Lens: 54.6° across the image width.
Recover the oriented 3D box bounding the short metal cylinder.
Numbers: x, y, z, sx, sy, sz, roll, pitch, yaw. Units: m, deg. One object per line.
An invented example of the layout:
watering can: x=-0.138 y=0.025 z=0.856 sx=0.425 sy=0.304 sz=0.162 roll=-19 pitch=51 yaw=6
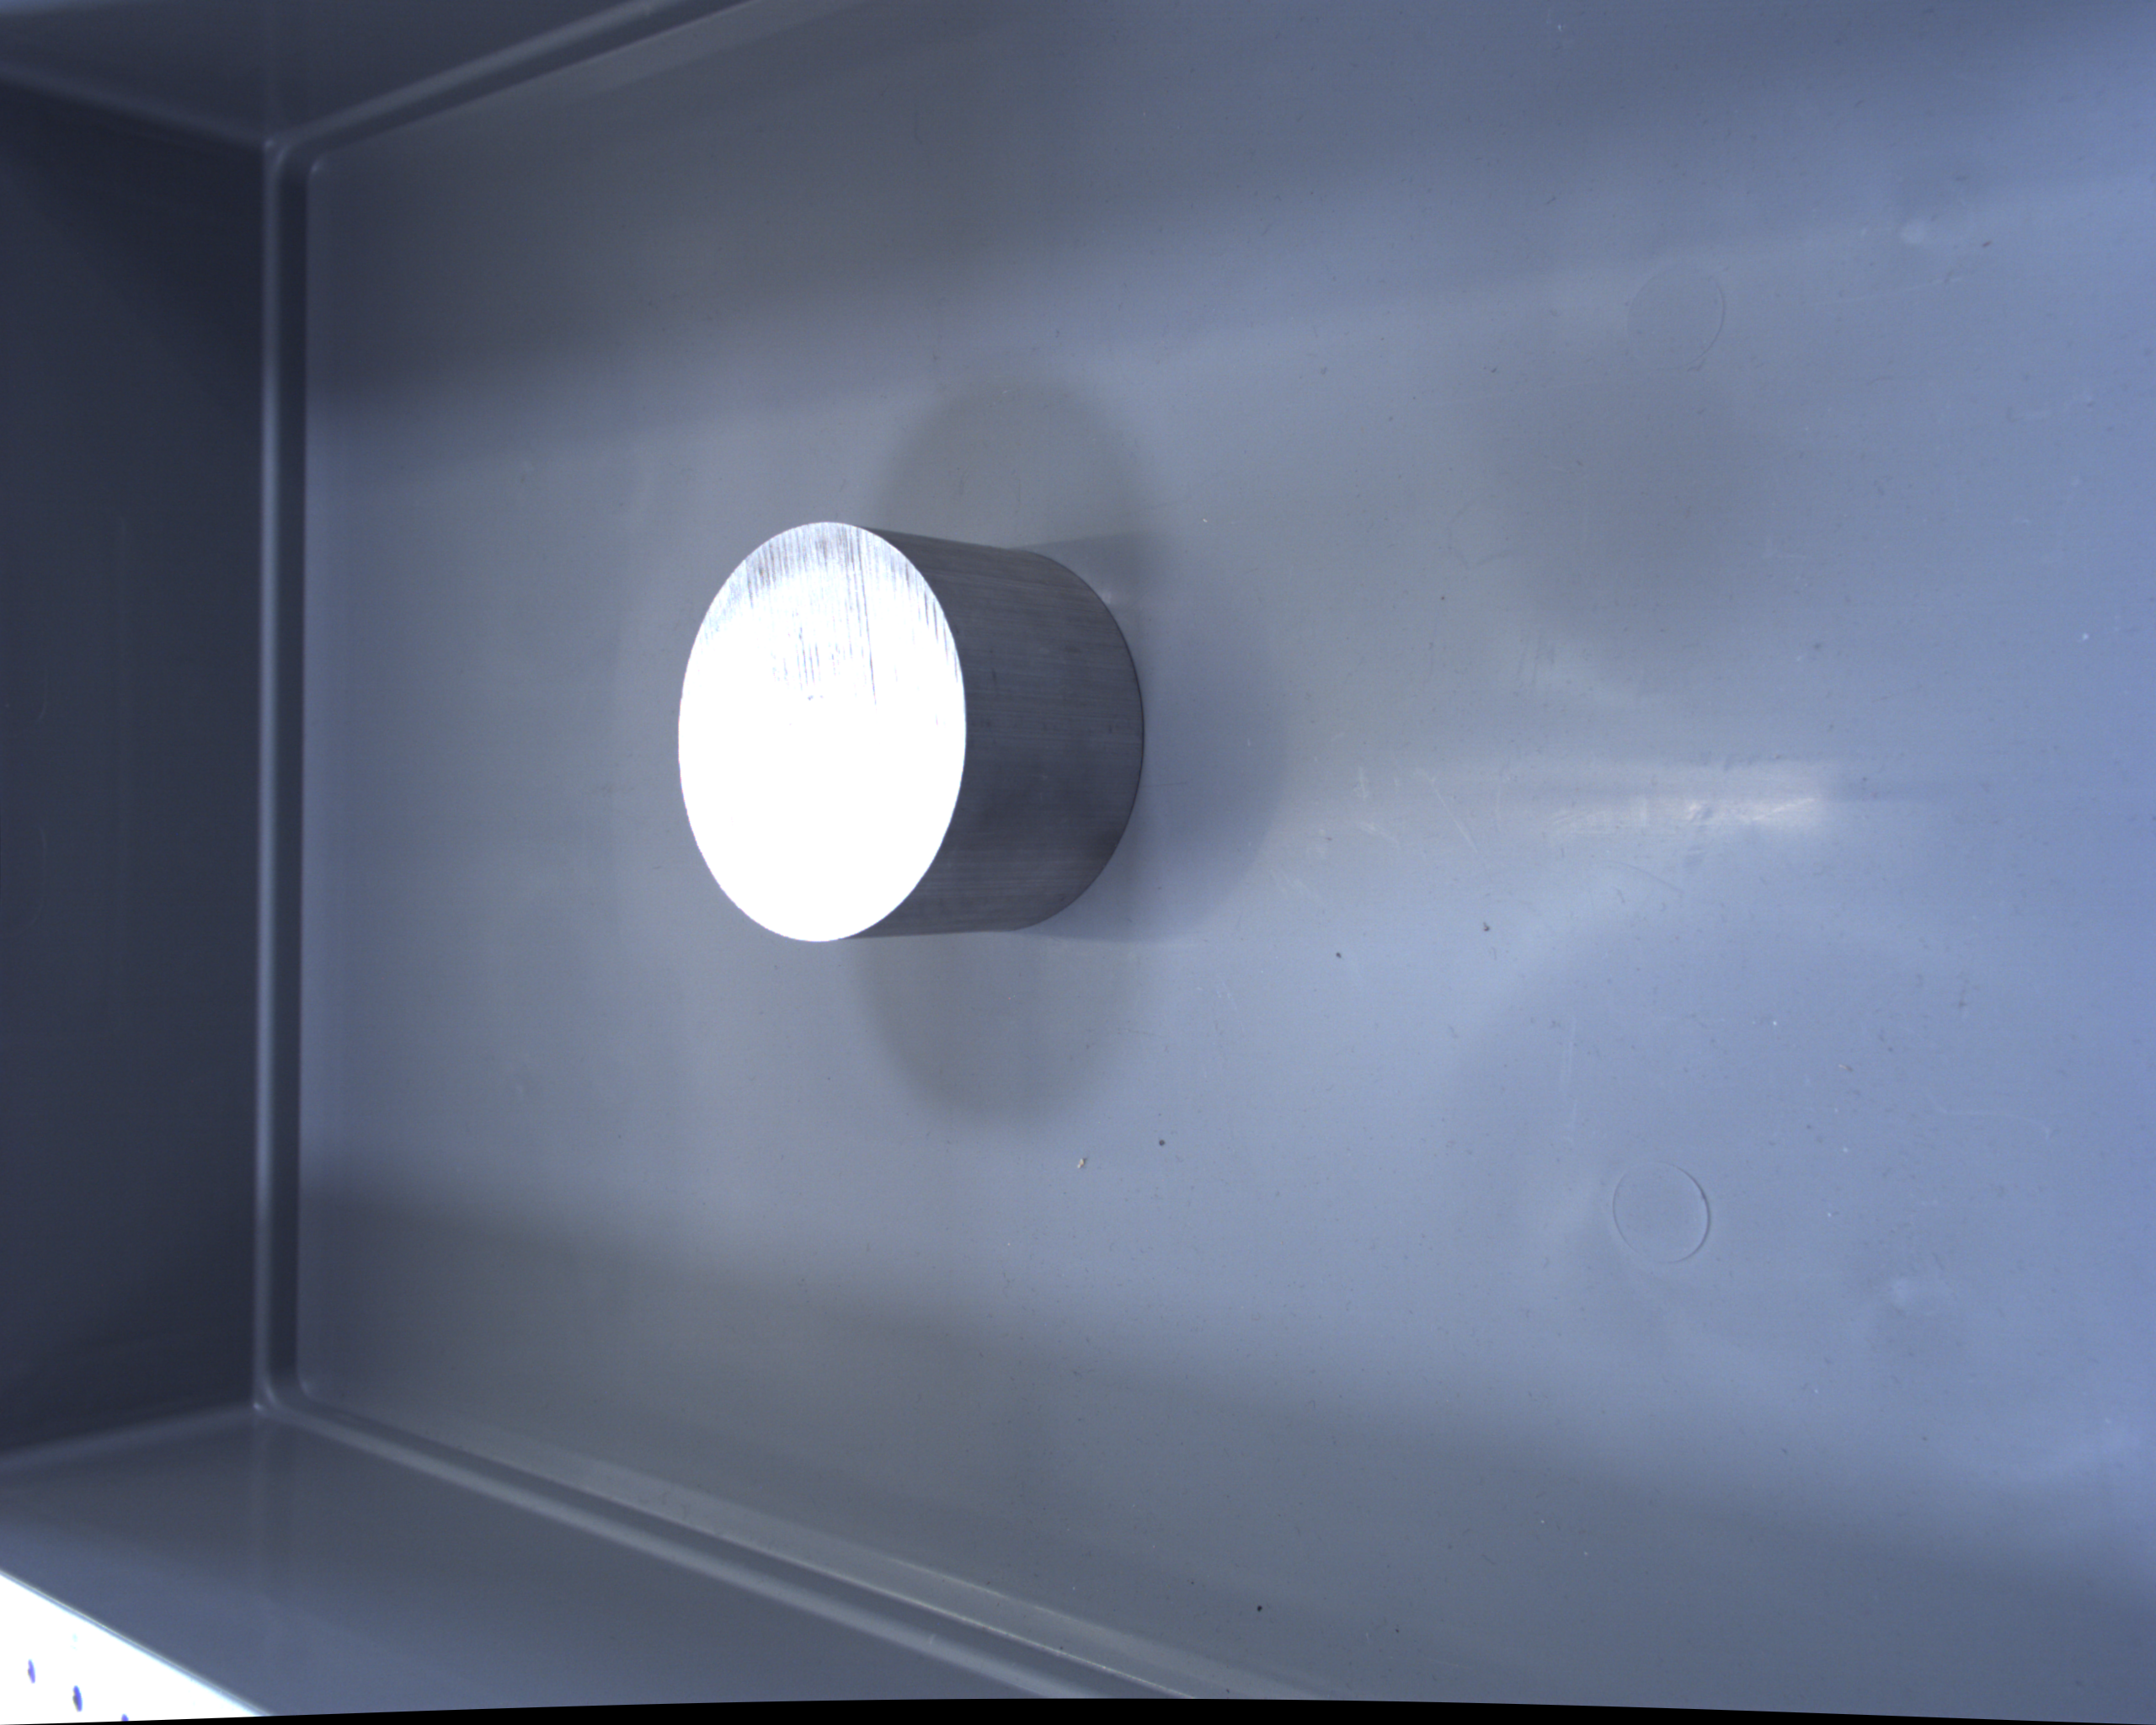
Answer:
short metal cylinder: x=-0.034 y=-0.025 z=0.417 sx=0.080 sy=0.050 sz=0.080 roll=0 pitch=90 yaw=40
